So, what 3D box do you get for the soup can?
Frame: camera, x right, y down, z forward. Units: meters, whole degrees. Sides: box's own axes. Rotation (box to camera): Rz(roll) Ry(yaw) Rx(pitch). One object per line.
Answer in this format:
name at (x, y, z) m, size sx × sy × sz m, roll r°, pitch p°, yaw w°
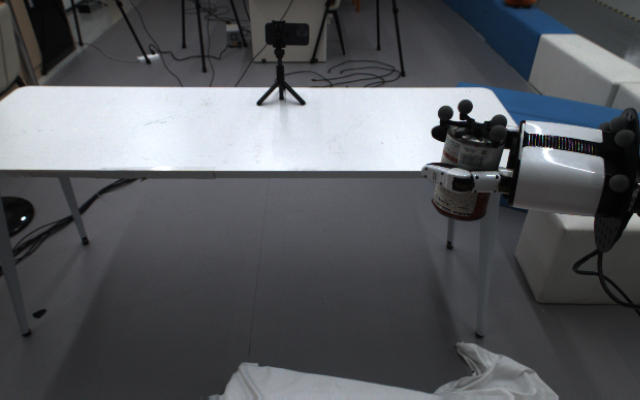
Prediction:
soup can at (0.179, -0.036, 0.586) m, size 0.067 × 0.101 × 0.067 m, roll 3°, pitch 30°, yaw -2°
